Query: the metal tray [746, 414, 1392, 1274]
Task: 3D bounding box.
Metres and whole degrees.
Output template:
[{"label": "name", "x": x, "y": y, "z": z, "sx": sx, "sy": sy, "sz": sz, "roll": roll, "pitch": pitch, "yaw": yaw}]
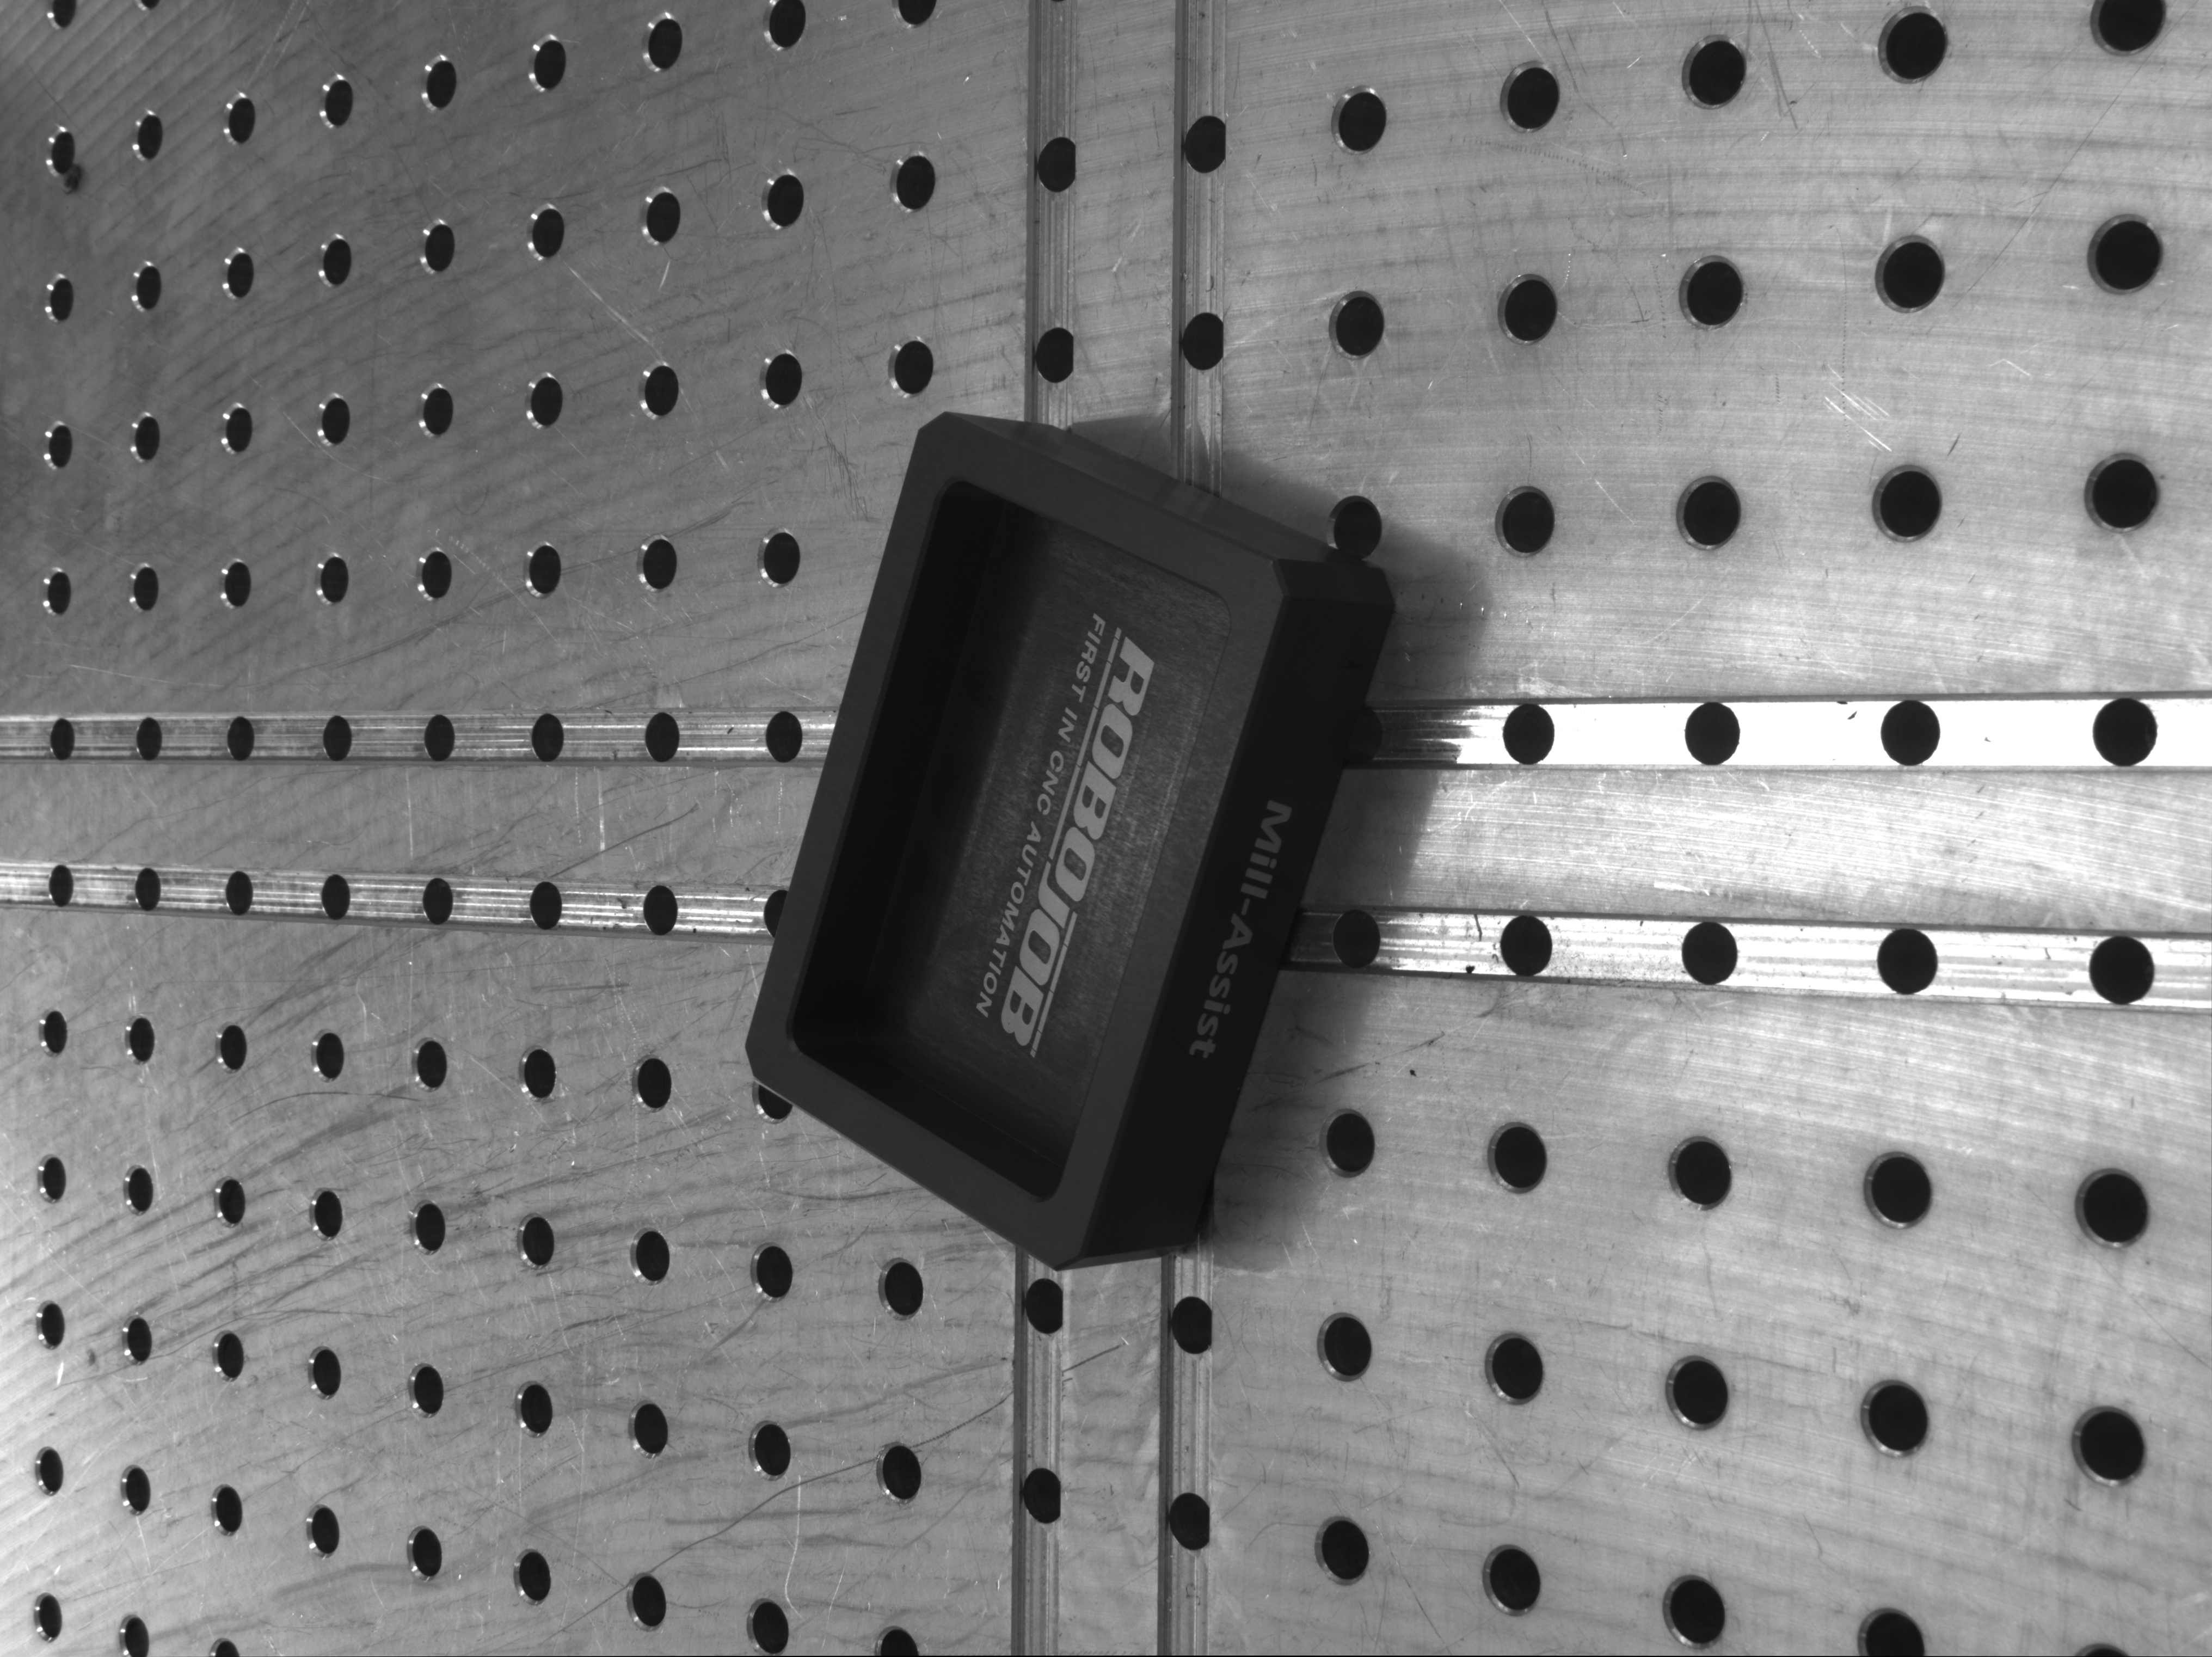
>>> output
[{"label": "metal tray", "x": -0.009, "y": 0.002, "z": 0.653, "sx": 0.090, "sy": 0.030, "sz": 0.130, "roll": 27, "pitch": 107, "yaw": 36}]
